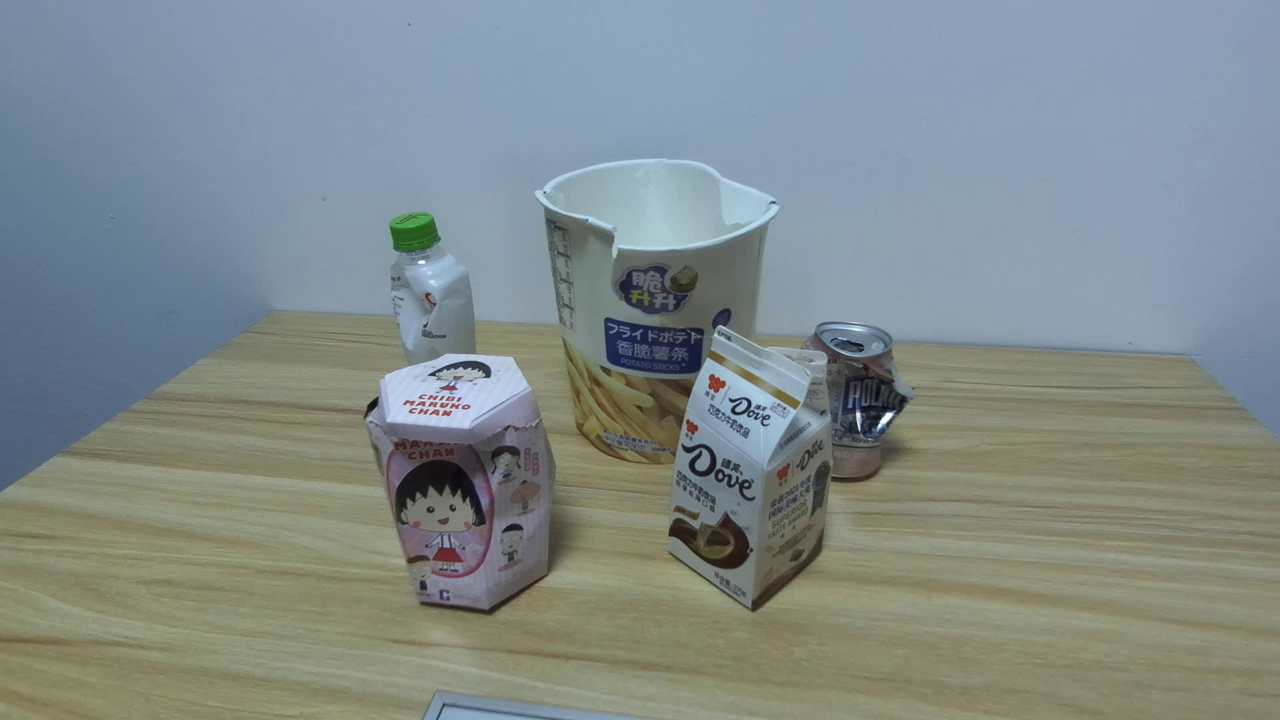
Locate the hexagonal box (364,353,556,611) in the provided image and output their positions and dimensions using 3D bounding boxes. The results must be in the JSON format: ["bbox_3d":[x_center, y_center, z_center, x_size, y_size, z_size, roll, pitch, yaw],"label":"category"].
[{"bbox_3d":[-0.105,0.072,0.427,0.090,0.134,0.090,-21,33,-35],"label":"hexagonal box"}]

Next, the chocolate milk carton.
[{"bbox_3d":[0.064,0.056,0.419,0.073,0.155,0.084,-25,36,-36],"label":"chocolate milk carton"}]

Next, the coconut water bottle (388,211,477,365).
[{"bbox_3d":[-0.151,-0.015,0.533,0.069,0.187,0.069,-1,27,1],"label":"coconut water bottle"}]

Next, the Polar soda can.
[{"bbox_3d":[0.151,0.029,0.515,0.074,0.114,0.070,-21,39,-26],"label":"Polar soda can"}]

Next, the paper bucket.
[{"bbox_3d":[0.014,-0.038,0.552,0.146,0.197,0.201,-18,32,-25],"label":"paper bucket"}]
